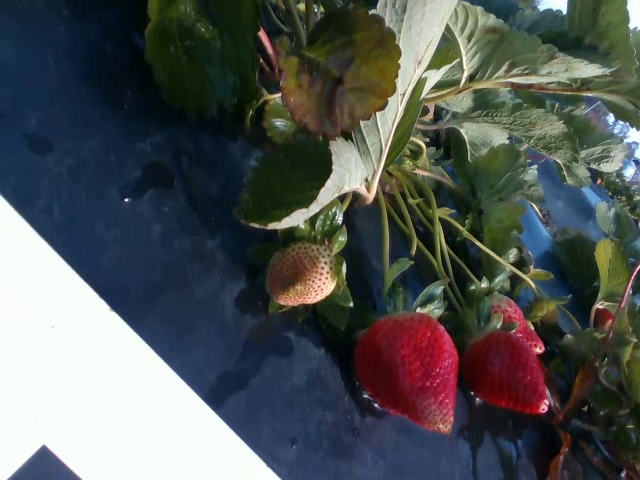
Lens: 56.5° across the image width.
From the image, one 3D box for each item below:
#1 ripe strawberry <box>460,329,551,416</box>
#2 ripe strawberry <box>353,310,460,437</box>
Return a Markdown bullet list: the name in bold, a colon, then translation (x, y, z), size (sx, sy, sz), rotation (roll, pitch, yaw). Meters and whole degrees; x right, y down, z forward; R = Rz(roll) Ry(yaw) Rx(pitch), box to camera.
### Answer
- **ripe strawberry**: translation (0.099, 0.074, 0.312), size (0.044, 0.042, 0.055), rotation (-15, 35, -21)
- **ripe strawberry**: translation (0.041, 0.058, 0.250), size (0.050, 0.050, 0.065), rotation (9, 22, -17)
